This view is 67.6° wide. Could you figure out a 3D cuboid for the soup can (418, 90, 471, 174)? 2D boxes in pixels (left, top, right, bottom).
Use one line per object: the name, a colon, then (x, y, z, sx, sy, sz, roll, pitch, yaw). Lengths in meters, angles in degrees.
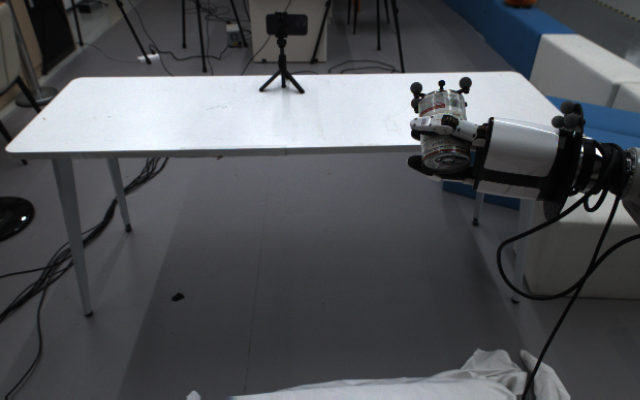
soup can: (0.177, -0.097, 0.688, 0.067, 0.067, 0.101, 2, 68, 0)
